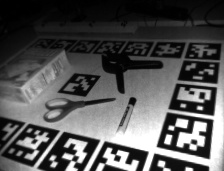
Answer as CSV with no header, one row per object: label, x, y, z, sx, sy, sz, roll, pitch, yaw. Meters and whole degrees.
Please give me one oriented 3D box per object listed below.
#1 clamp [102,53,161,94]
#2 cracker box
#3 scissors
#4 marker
clamp,0.028,-0.060,0.690,0.166,0.037,0.200,-30,41,-22
cracker box,-0.273,-0.046,0.717,0.162,0.072,0.214,8,43,26
scissors,-0.094,0.049,0.582,0.203,0.016,0.087,-10,37,1
marker,0.031,0.067,0.520,0.019,0.020,0.121,5,41,23
